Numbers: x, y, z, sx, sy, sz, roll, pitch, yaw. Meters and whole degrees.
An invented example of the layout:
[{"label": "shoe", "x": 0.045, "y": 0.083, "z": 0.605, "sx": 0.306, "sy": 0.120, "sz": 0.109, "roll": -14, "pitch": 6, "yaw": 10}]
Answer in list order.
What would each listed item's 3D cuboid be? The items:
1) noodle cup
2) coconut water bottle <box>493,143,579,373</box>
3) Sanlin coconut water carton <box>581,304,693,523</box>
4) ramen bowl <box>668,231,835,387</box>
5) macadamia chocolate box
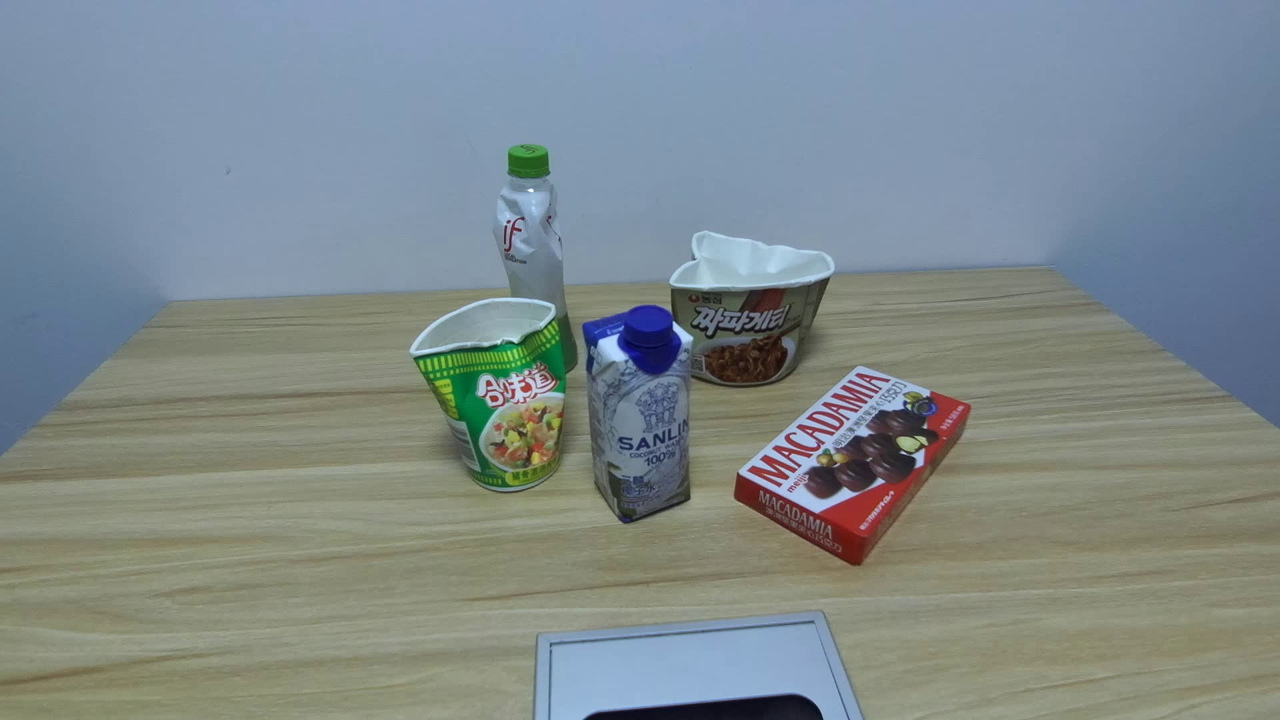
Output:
[{"label": "noodle cup", "x": -0.092, "y": 0.025, "z": 0.489, "sx": 0.082, "sy": 0.122, "sz": 0.075, "roll": -8, "pitch": 23, "yaw": 8}, {"label": "coconut water bottle", "x": -0.085, "y": -0.077, "z": 0.580, "sx": 0.067, "sy": 0.187, "sz": 0.067, "roll": 0, "pitch": 28, "yaw": 0}, {"label": "Sanlin coconut water carton", "x": 0.000, "y": 0.030, "z": 0.446, "sx": 0.061, "sy": 0.144, "sz": 0.060, "roll": -17, "pitch": 34, "yaw": -23}, {"label": "ramen bowl", "x": 0.095, "y": -0.045, "z": 0.607, "sx": 0.133, "sy": 0.097, "sz": 0.113, "roll": 5, "pitch": 33, "yaw": 8}, {"label": "macadamia chocolate box", "x": 0.155, "y": 0.064, "z": 0.501, "sx": 0.095, "sy": 0.027, "sz": 0.178, "roll": 24, "pitch": 39, "yaw": 35}]
